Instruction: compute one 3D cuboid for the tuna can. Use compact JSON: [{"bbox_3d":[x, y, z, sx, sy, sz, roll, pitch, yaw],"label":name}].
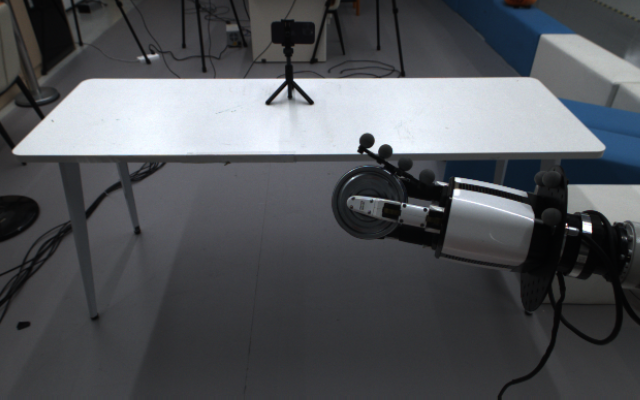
[{"bbox_3d":[0.062,0.008,0.556,0.085,0.085,0.034,13,4,15],"label":"tuna can"}]
